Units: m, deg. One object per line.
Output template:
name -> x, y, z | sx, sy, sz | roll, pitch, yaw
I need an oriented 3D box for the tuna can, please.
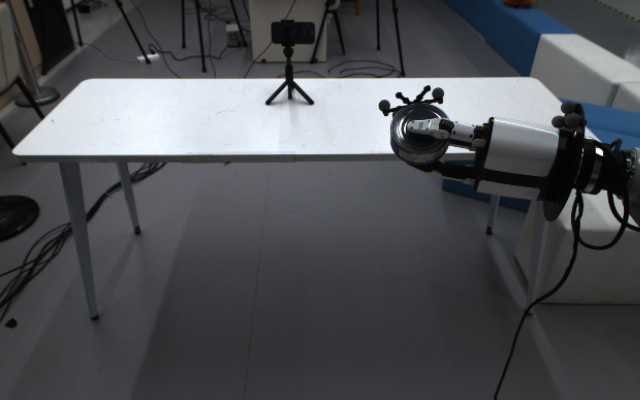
tuna can -> 0.145, -0.098, 0.693 | 0.085, 0.034, 0.085 | -4, 68, 9
